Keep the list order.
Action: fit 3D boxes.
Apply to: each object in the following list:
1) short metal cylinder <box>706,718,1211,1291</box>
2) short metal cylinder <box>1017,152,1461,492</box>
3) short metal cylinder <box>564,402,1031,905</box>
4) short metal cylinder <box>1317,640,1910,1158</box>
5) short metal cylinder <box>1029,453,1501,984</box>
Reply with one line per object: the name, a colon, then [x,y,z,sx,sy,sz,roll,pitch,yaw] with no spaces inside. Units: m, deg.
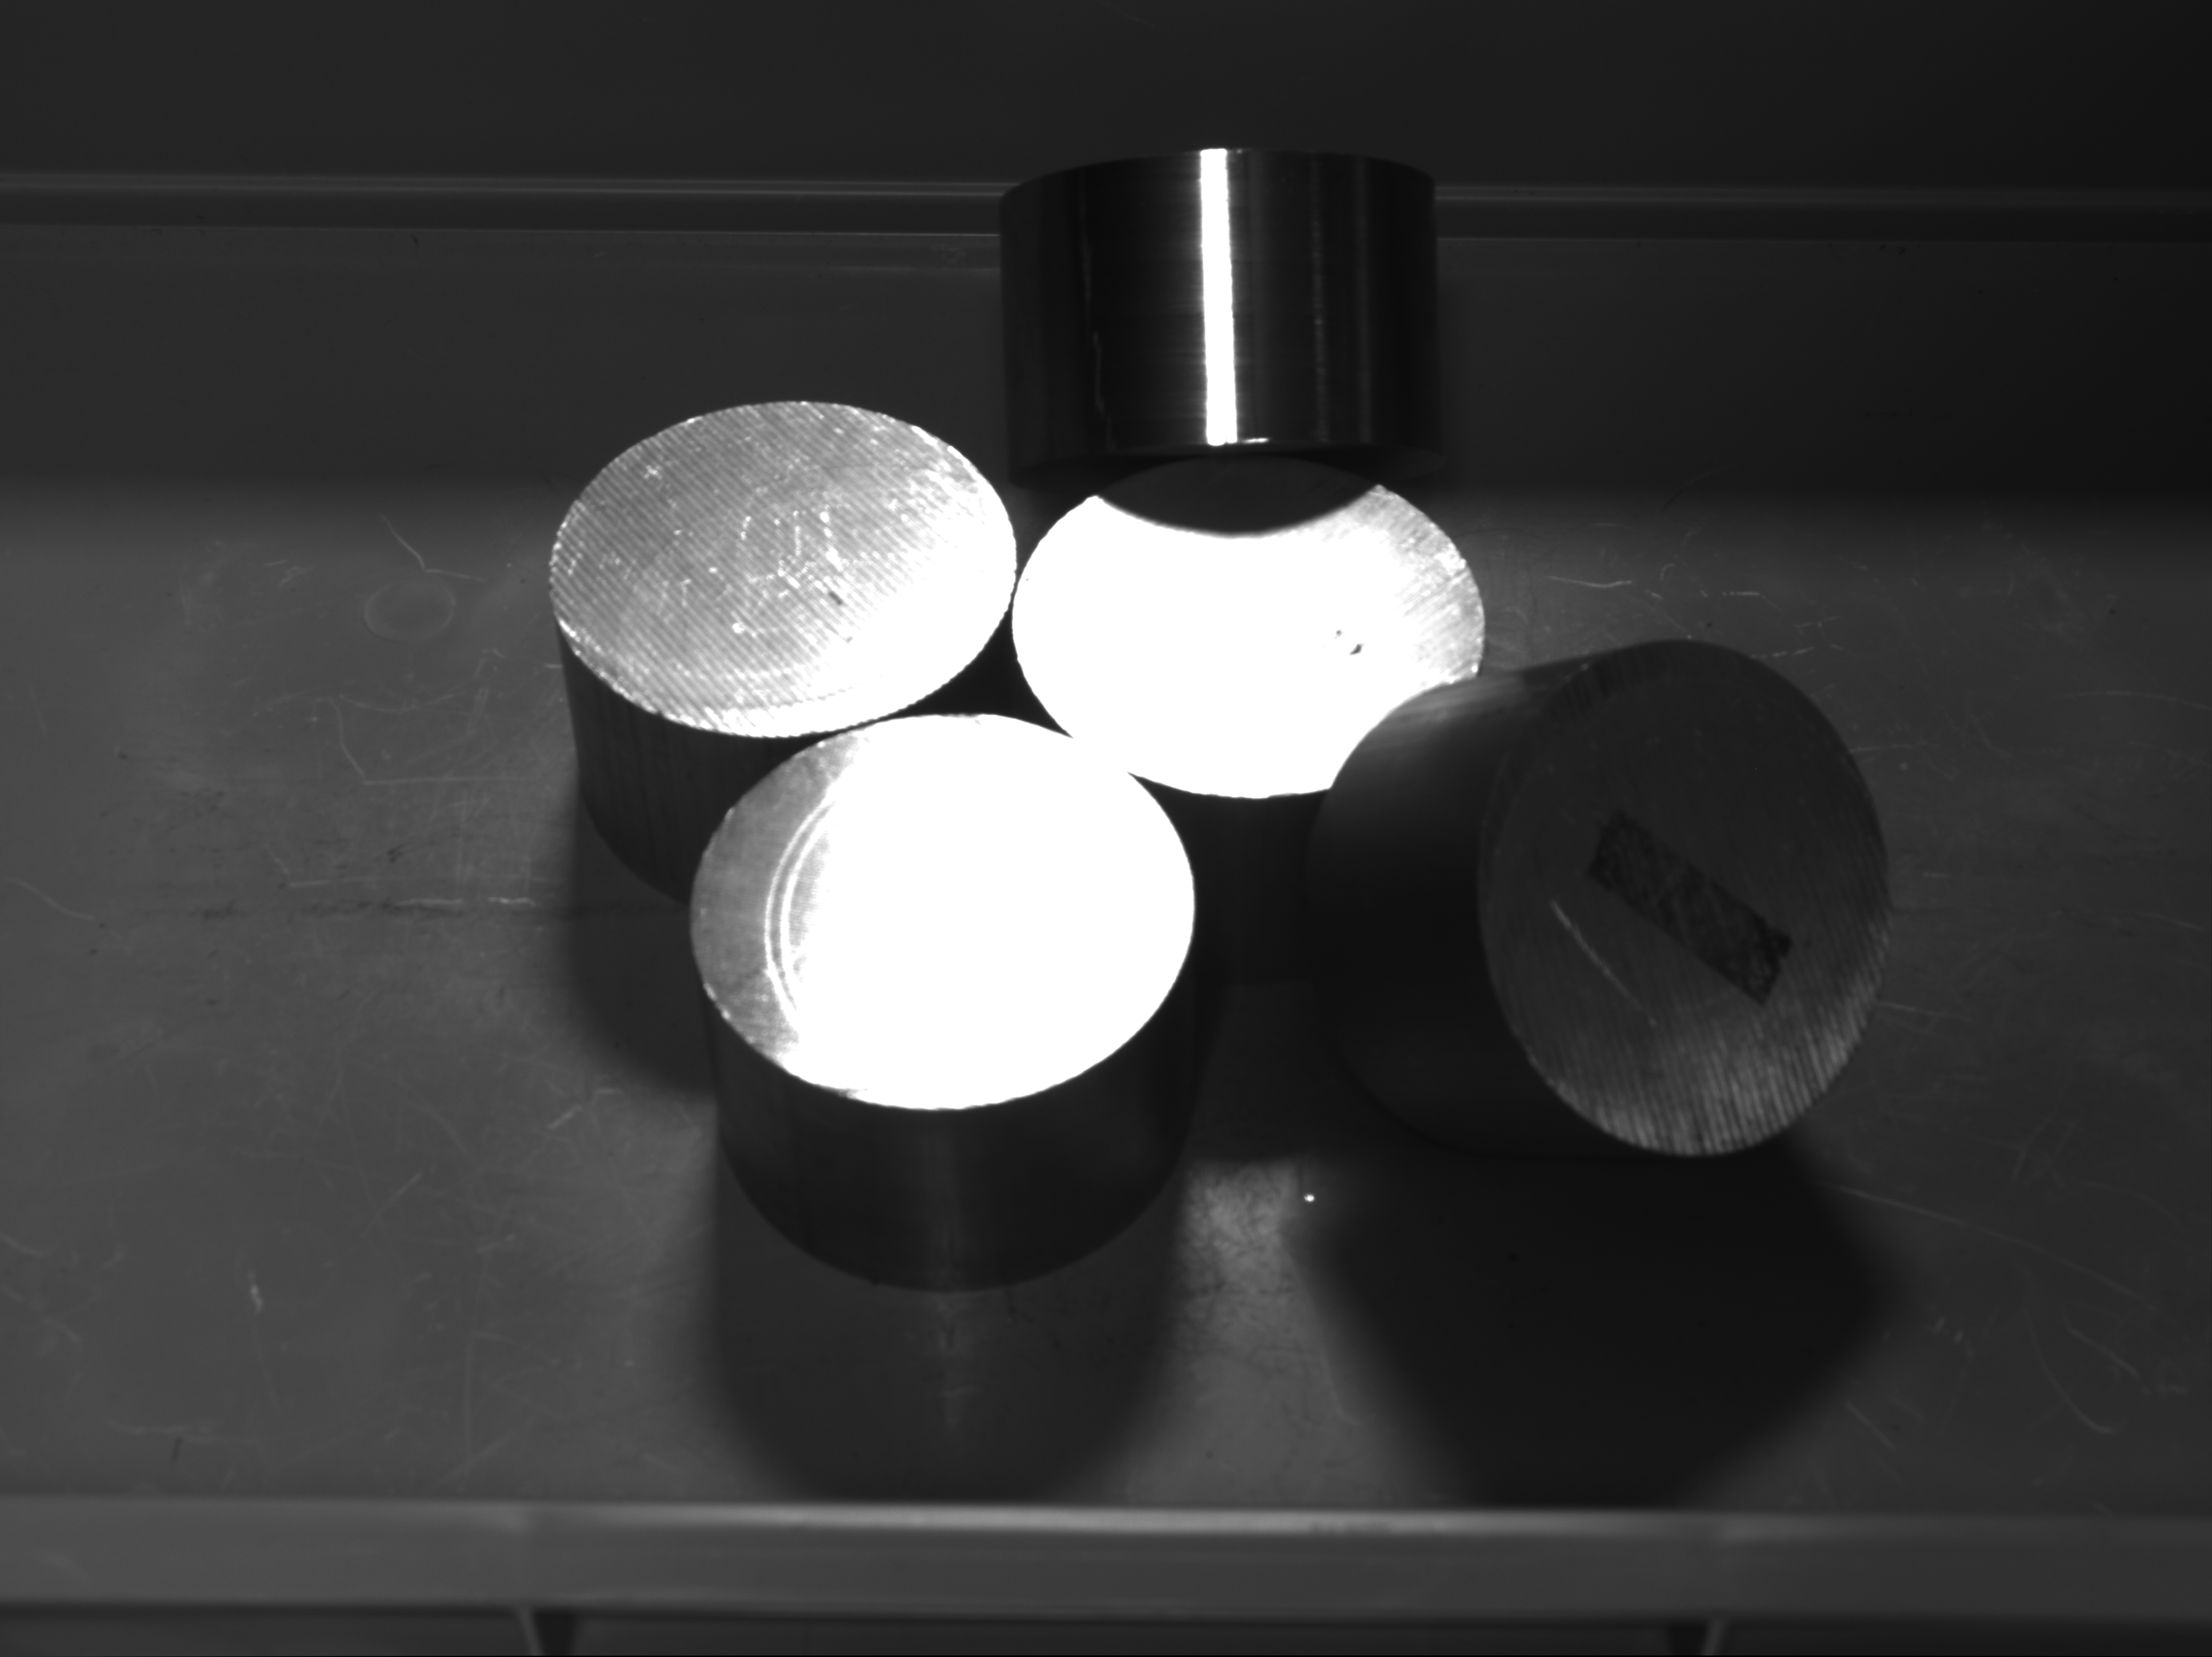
short metal cylinder: [-0.023,0.028,0.600,0.080,0.050,0.080,0,50,0]
short metal cylinder: [0.024,-0.091,0.672,0.080,0.080,0.050,-2,88,-2]
short metal cylinder: [-0.053,-0.030,0.649,0.080,0.050,0.080,0,50,0]
short metal cylinder: [0.081,0.013,0.587,0.080,0.050,0.080,3,84,-29]
short metal cylinder: [0.027,-0.020,0.640,0.080,0.050,0.080,0,50,0]
